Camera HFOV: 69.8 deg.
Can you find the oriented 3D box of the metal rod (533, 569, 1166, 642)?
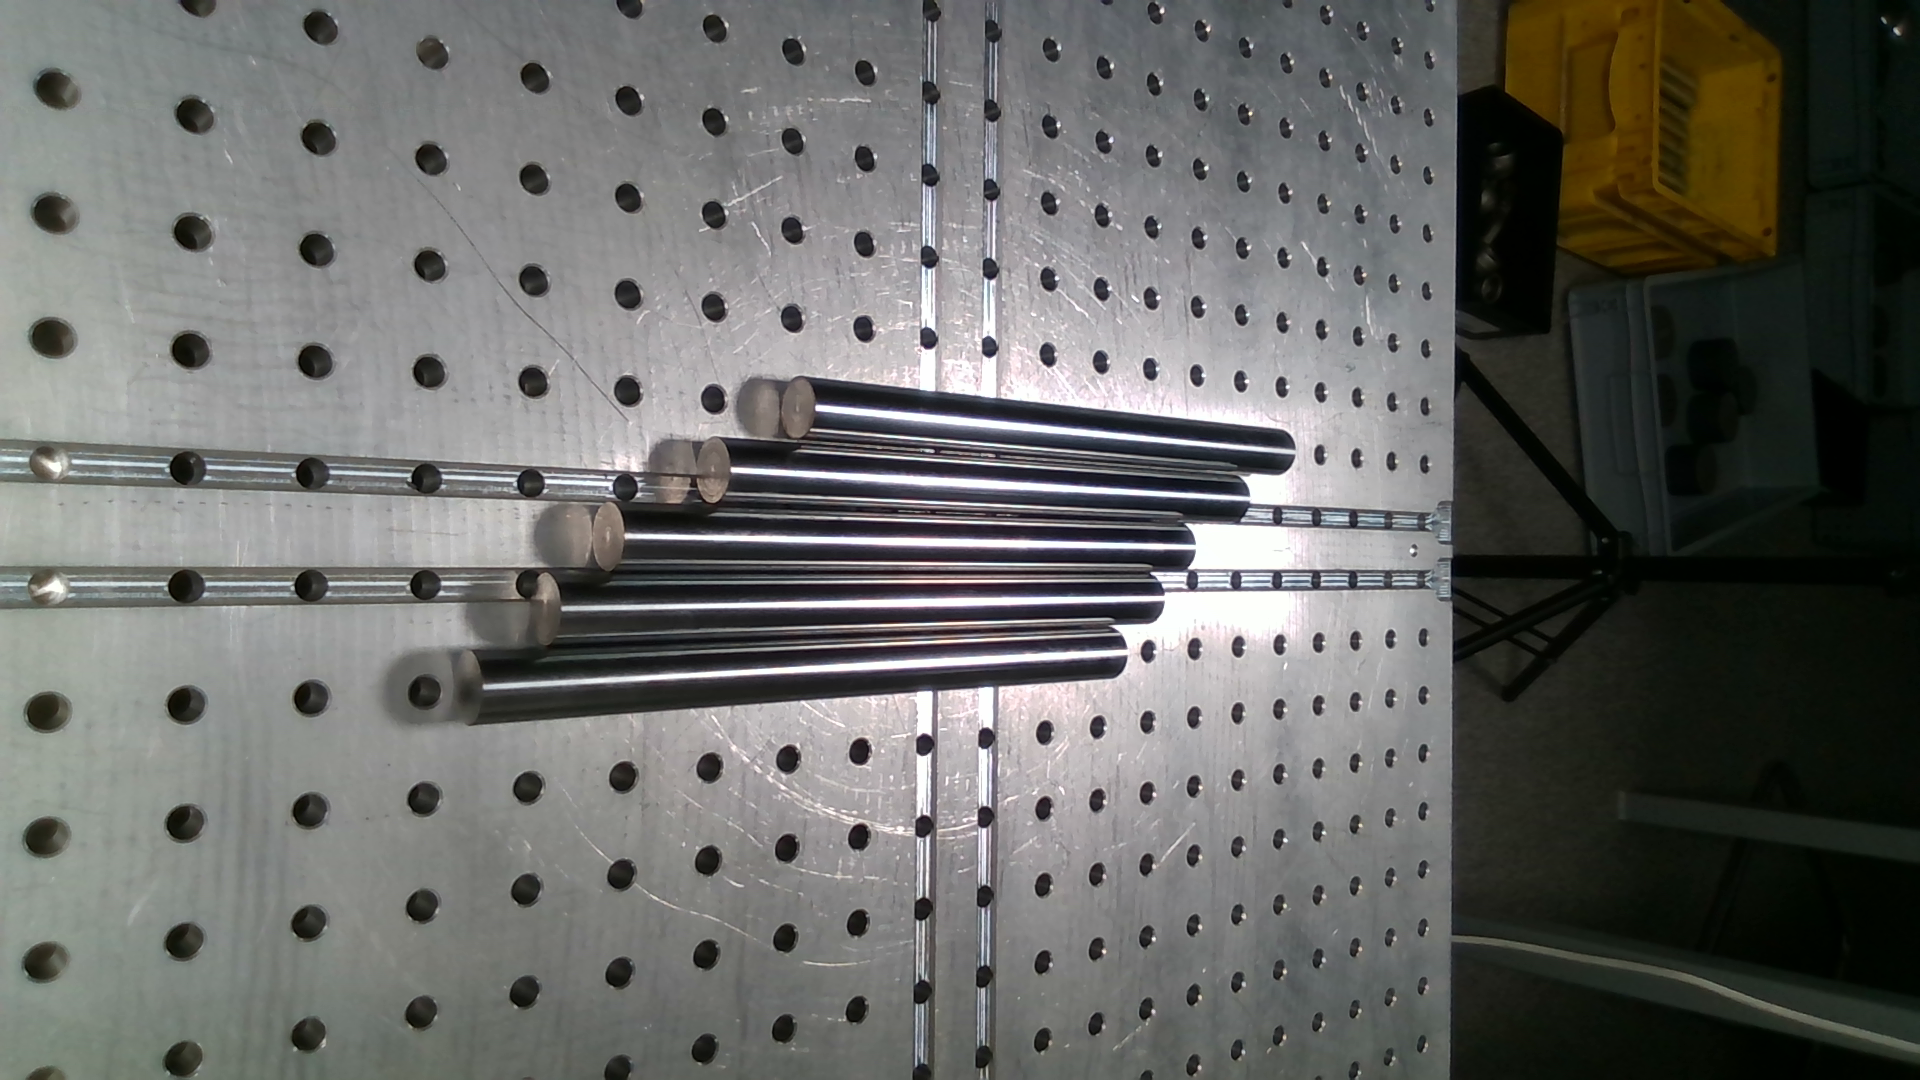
[{"bbox_3d":[-0.025,0.025,0.564,0.300,0.025,0.025,1,89,-40],"label":"metal rod"}]

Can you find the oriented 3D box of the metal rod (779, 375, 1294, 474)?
[{"bbox_3d":[0.051,-0.049,0.629,0.300,0.025,0.025,1,89,-40],"label":"metal rod"}]

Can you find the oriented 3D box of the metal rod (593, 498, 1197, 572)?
[{"bbox_3d":[-0.008,0.001,0.578,0.300,0.025,0.025,1,89,-40],"label":"metal rod"}]

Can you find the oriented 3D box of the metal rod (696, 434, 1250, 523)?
[{"bbox_3d":[0.023,-0.024,0.605,0.300,0.025,0.025,1,89,-40],"label":"metal rod"}]

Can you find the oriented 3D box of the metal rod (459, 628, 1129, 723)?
[{"bbox_3d":[-0.045,0.050,0.548,0.300,0.025,0.025,1,89,-40],"label":"metal rod"}]
